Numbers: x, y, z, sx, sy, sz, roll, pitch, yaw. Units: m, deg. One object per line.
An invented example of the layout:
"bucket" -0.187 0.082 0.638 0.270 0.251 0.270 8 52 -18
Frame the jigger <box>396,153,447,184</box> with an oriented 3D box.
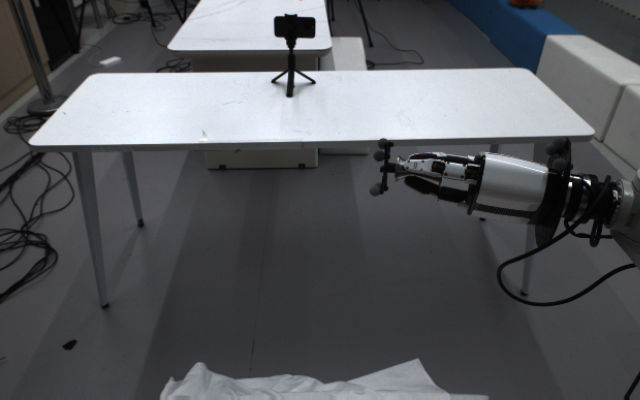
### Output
"jigger" 0.155 -0.047 0.727 0.071 0.043 0.043 7 35 14
